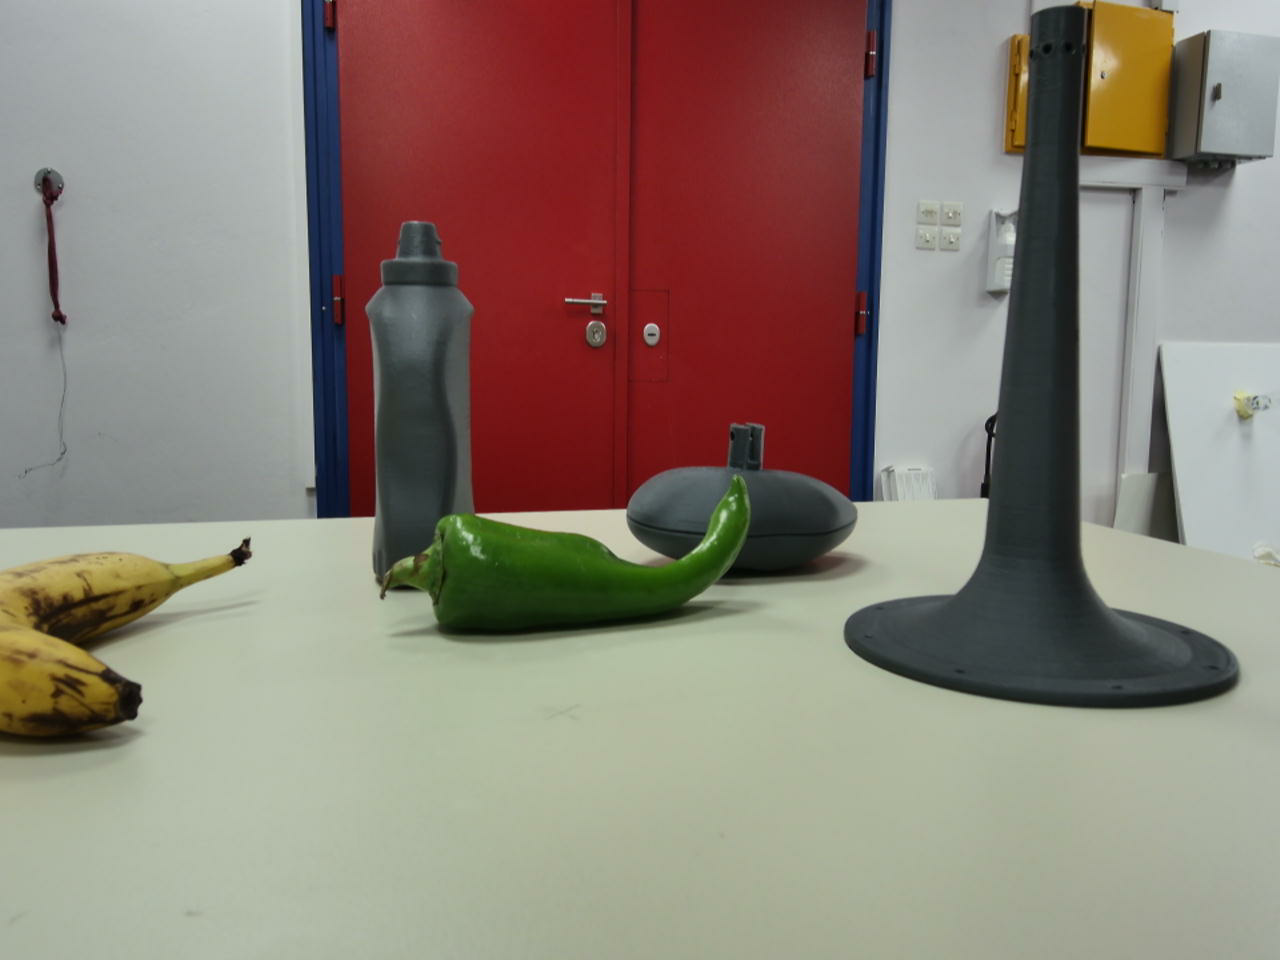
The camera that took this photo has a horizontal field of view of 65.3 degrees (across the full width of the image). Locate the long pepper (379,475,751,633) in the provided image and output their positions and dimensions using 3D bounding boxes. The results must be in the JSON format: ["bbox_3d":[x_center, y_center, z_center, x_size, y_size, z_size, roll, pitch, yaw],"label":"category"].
[{"bbox_3d":[-0.028,0.033,0.455,0.175,0.065,0.058,-2,4,-15],"label":"long pepper"}]
